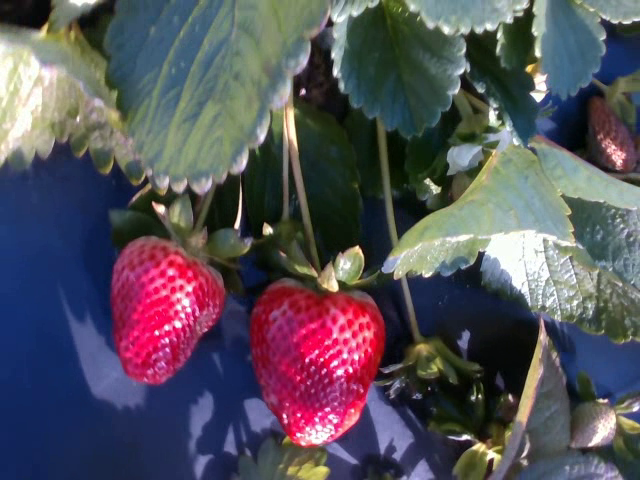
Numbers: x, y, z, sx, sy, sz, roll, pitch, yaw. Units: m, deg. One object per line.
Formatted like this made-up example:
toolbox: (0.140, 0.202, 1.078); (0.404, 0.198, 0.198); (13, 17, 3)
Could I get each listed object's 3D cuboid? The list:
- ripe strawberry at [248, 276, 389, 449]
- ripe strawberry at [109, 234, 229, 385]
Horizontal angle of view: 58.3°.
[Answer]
ripe strawberry: (0.000, 0.043, 0.191); (0.052, 0.058, 0.046); (3, -21, 14)
ripe strawberry: (-0.053, 0.024, 0.184); (0.043, 0.052, 0.036); (-6, -21, 19)
